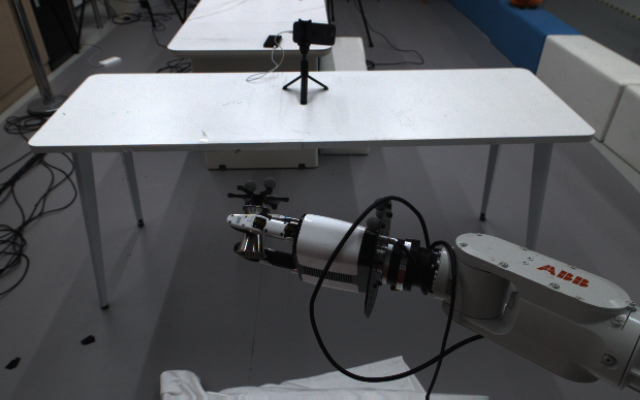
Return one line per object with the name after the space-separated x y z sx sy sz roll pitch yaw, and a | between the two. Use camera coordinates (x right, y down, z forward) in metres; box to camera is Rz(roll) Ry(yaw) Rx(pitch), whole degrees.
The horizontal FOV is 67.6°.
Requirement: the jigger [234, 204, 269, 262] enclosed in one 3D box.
-0.095 0.044 0.684 0.043 0.043 0.071 4 71 3 | jigger
